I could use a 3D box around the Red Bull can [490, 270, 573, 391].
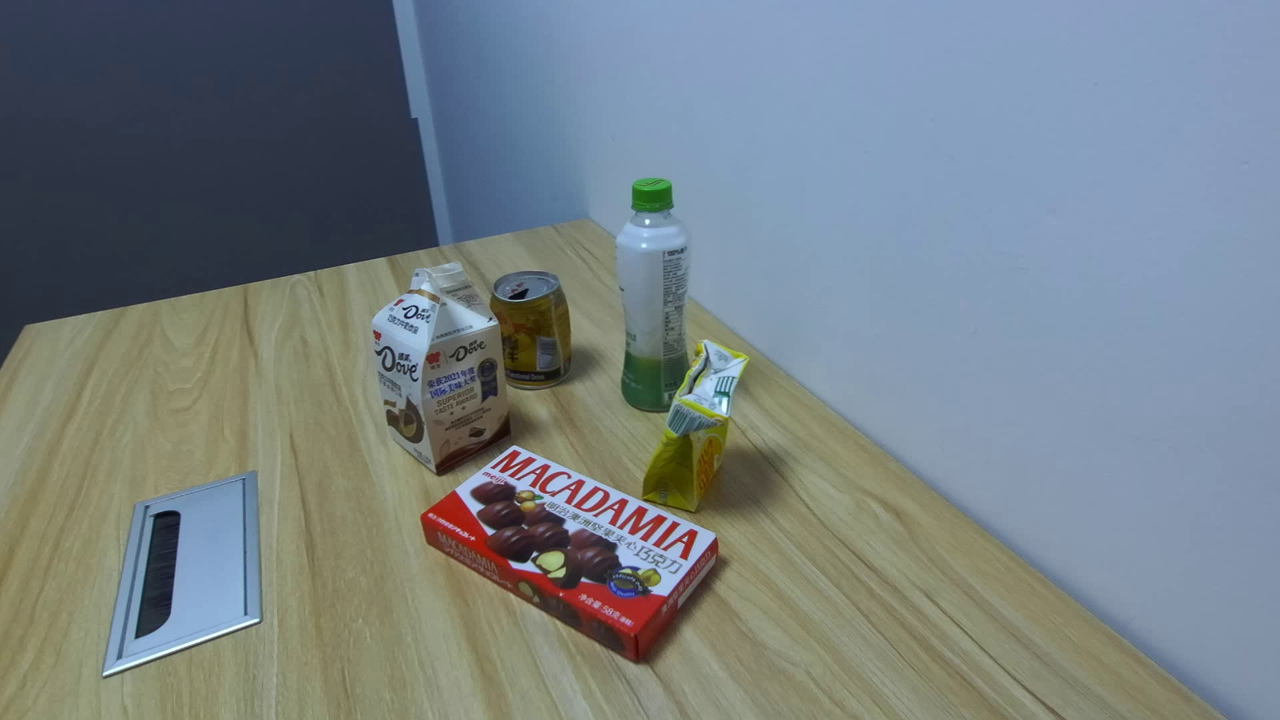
[{"bbox_3d":[-0.099,-0.029,0.642,0.072,0.092,0.072,0,33,1],"label":"Red Bull can"}]

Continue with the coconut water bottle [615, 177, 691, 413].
[{"bbox_3d":[0.012,-0.050,0.575,0.063,0.189,0.063,-2,29,1],"label":"coconut water bottle"}]

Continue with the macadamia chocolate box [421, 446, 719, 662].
[{"bbox_3d":[-0.048,0.117,0.465,0.177,0.027,0.096,18,36,30],"label":"macadamia chocolate box"}]

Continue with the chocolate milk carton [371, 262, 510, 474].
[{"bbox_3d":[-0.156,-0.003,0.545,0.074,0.156,0.076,-27,39,-37],"label":"chocolate milk carton"}]

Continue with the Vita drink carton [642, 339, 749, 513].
[{"bbox_3d":[0.040,0.048,0.493,0.042,0.108,0.087,24,40,13],"label":"Vita drink carton"}]
